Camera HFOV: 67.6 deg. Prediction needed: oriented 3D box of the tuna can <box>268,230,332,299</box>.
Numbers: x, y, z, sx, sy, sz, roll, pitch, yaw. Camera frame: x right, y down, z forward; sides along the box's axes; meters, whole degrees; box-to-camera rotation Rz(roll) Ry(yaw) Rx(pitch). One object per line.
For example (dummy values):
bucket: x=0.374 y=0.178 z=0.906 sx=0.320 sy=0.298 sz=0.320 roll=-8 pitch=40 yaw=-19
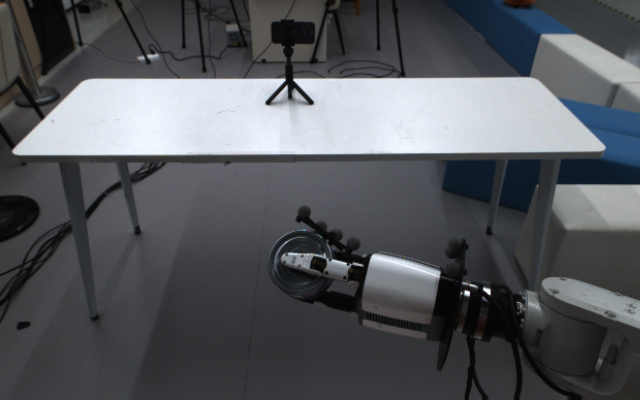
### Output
tuna can: x=-0.019 y=0.088 z=0.616 sx=0.085 sy=0.034 sz=0.085 roll=-4 pitch=69 yaw=10
